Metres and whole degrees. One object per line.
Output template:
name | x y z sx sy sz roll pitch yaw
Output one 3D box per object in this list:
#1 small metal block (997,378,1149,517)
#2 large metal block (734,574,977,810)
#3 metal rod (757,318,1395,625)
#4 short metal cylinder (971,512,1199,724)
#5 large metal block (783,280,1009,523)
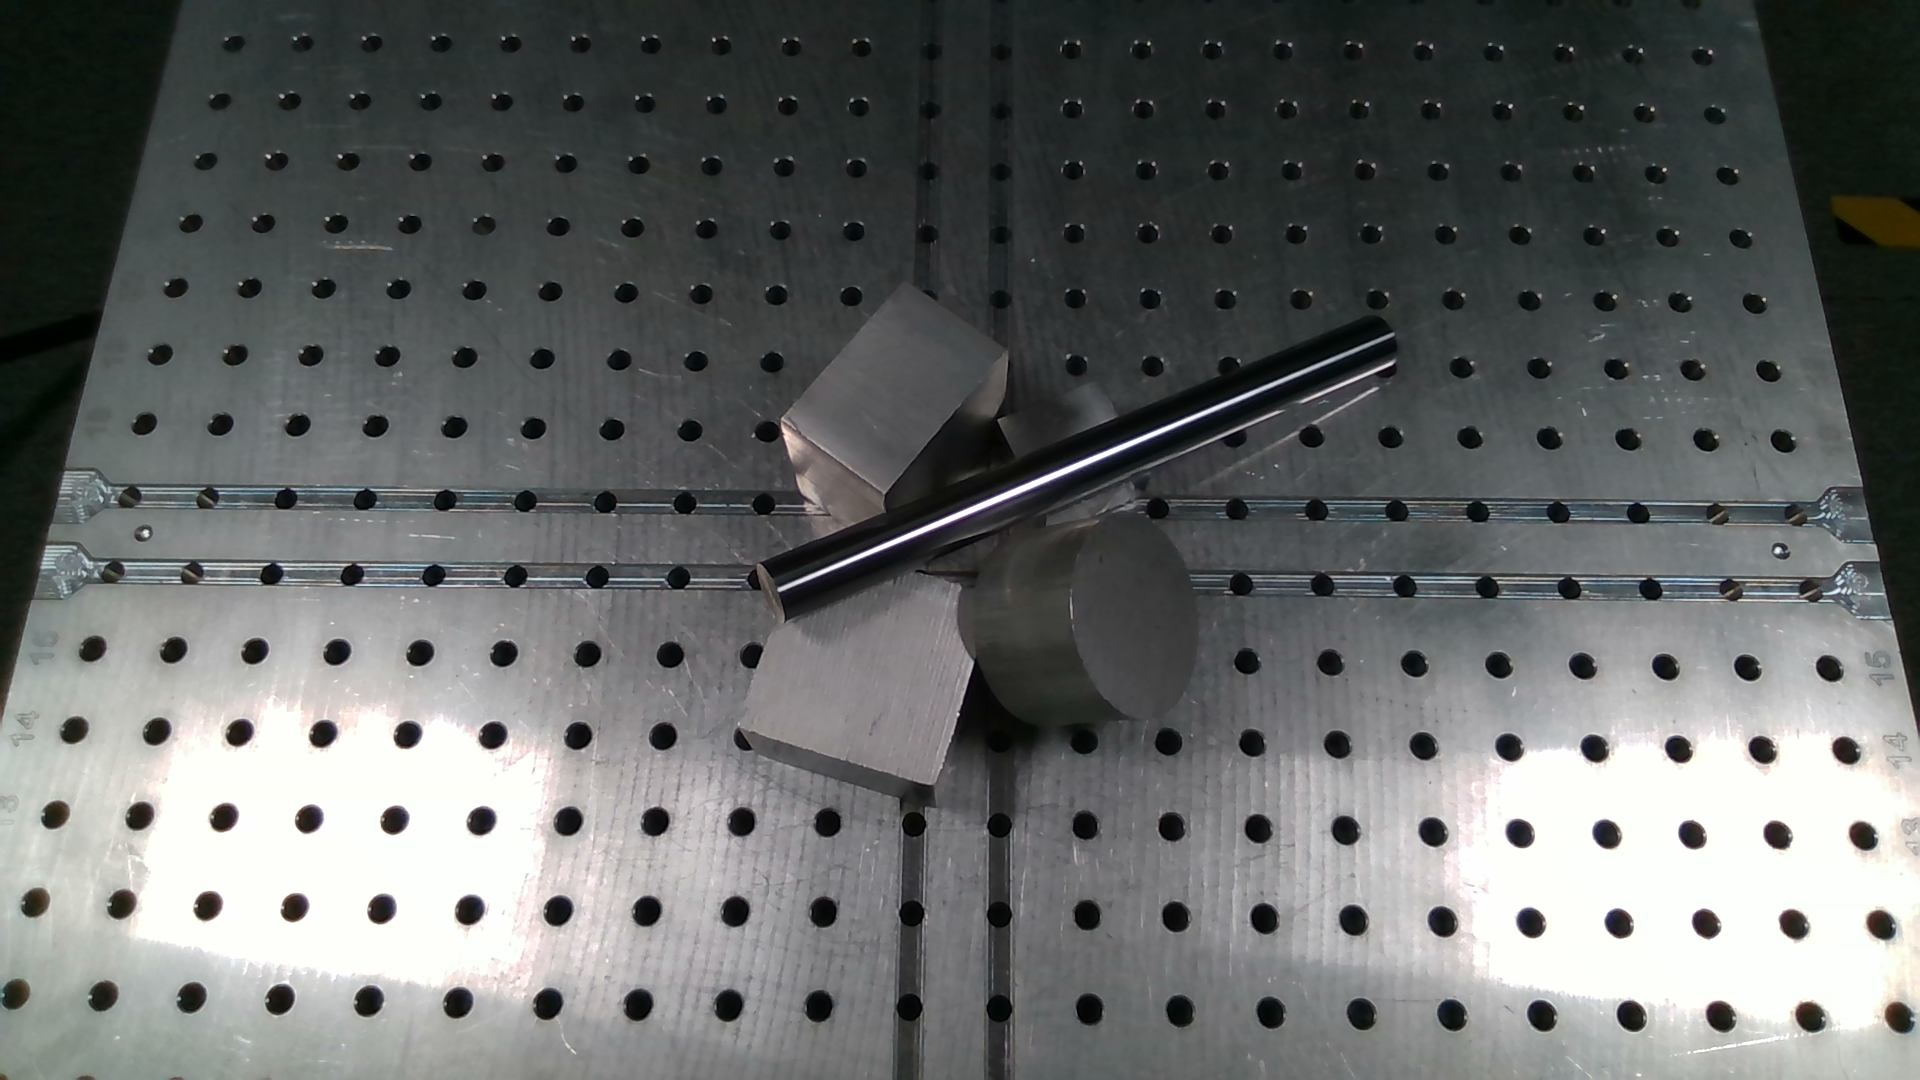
small metal block | 0.049 -0.036 0.604 0.050 0.025 0.050 -23 72 -8
large metal block | -0.036 0.055 0.557 0.080 0.050 0.080 16 71 6
metal rod | 0.058 -0.034 0.571 0.300 0.025 0.025 -23 71 -20
short metal cylinder | 0.050 0.032 0.543 0.050 0.080 0.080 -10 63 43
large metal block | -0.025 -0.047 0.578 0.050 0.080 0.080 35 74 12
